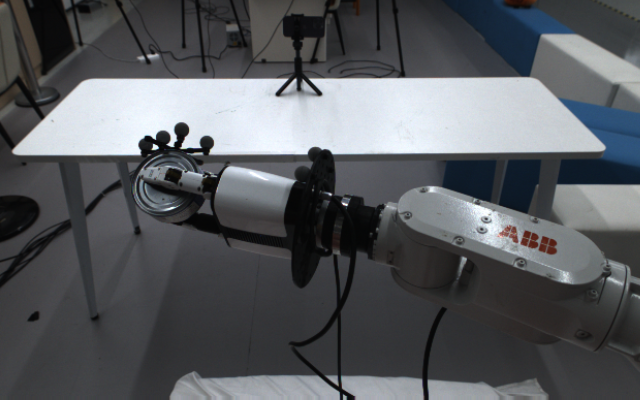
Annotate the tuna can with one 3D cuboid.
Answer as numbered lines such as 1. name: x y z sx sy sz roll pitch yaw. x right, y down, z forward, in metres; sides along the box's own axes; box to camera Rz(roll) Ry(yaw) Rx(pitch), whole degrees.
1. tuna can: -0.179 -0.015 0.590 0.085 0.034 0.085 -2 69 6
